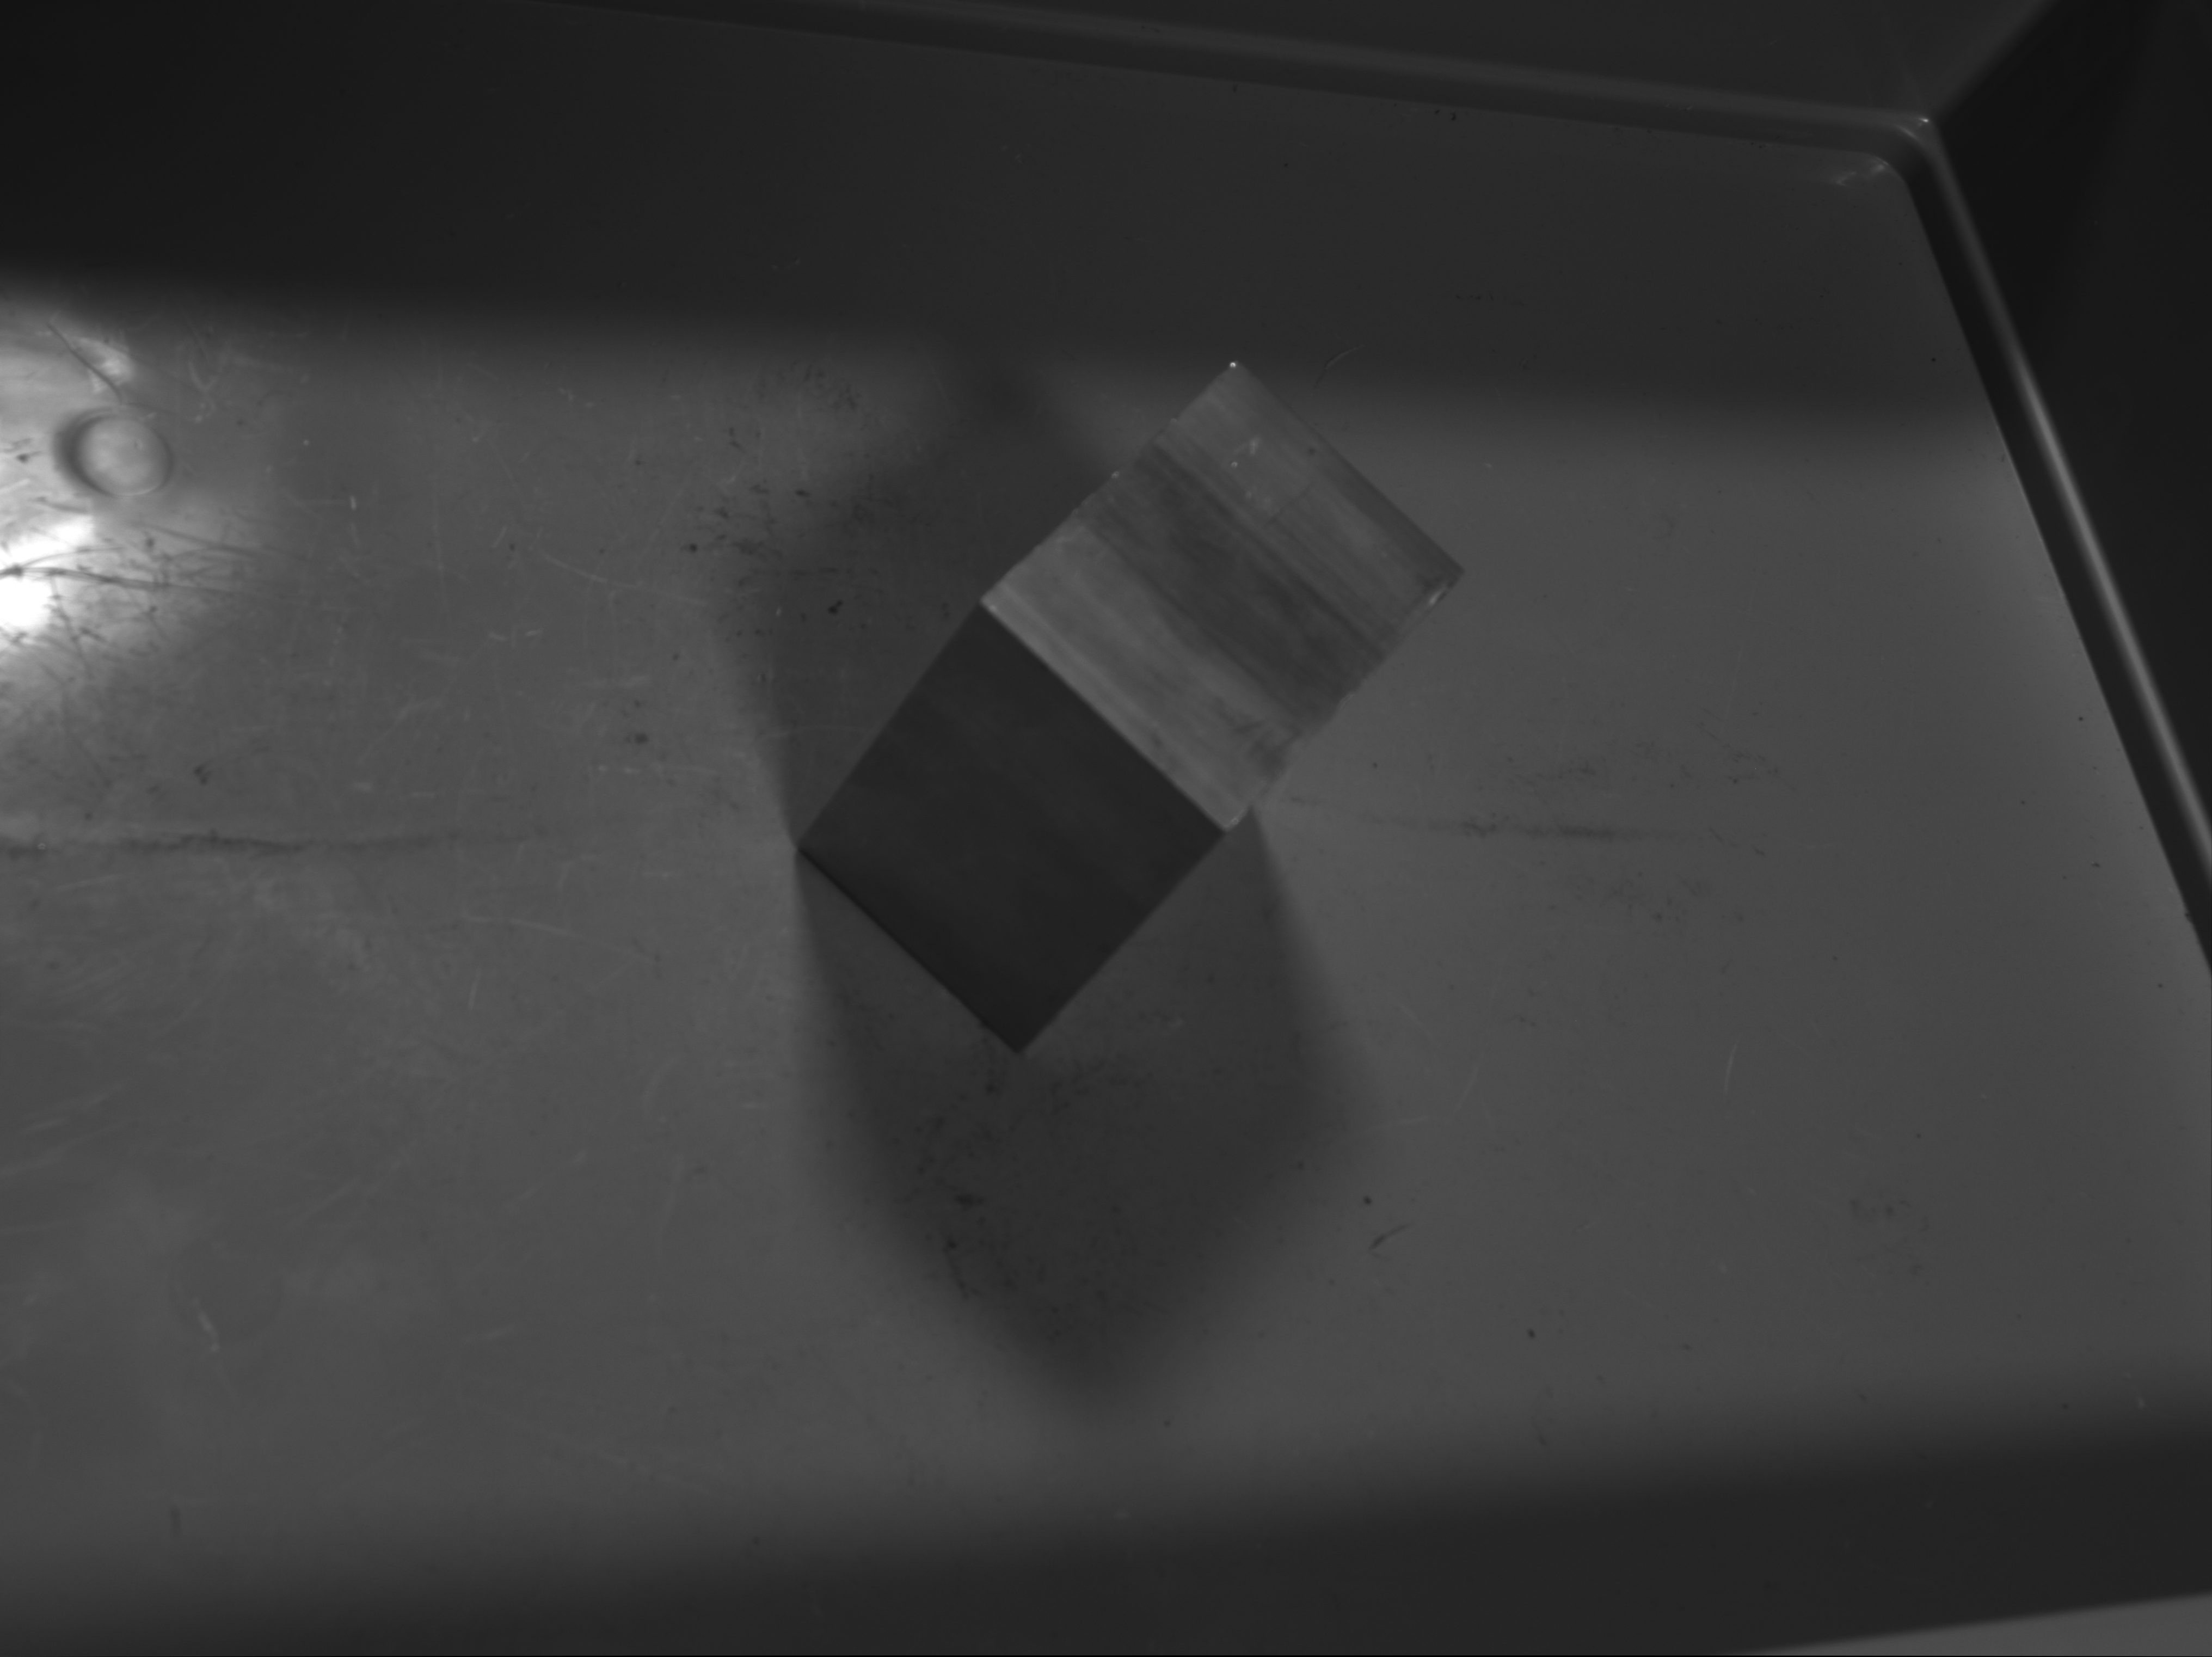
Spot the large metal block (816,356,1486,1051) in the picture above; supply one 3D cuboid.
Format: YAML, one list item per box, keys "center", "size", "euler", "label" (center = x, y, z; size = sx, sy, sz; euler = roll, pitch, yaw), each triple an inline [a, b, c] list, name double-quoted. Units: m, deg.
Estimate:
- center: [0.007, -0.021, 0.617]
  size: [0.050, 0.080, 0.080]
  euler: [43, 51, 1]
  label: "large metal block"
